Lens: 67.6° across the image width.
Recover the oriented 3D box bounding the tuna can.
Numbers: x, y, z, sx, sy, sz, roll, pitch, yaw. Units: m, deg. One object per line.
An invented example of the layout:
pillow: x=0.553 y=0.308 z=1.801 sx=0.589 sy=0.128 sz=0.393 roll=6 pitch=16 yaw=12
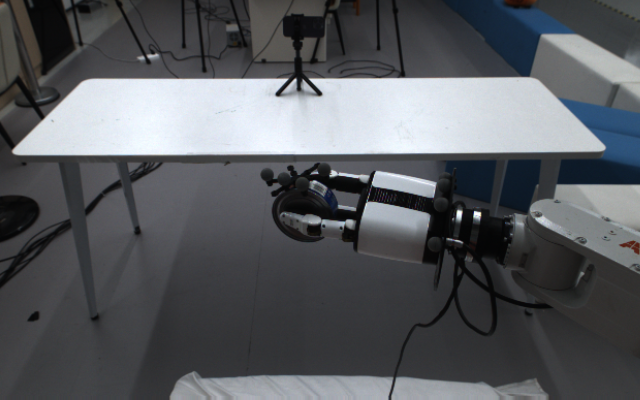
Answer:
tuna can: x=-0.017 y=0.018 z=0.651 sx=0.085 sy=0.085 sz=0.034 roll=10 pitch=33 yaw=11
